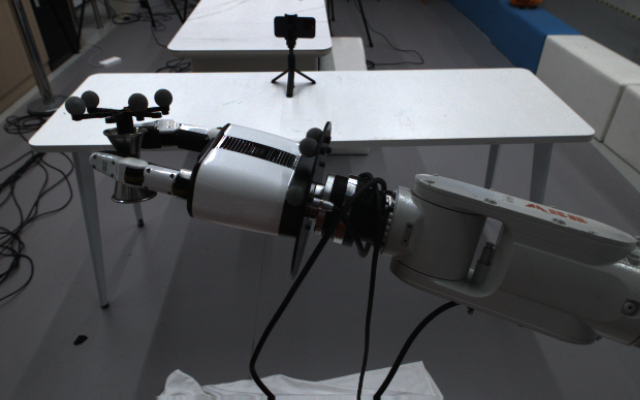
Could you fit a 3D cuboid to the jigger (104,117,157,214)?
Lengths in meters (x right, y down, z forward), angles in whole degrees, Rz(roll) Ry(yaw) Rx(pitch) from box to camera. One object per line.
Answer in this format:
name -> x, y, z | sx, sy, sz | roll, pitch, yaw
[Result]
jigger -> -0.191, -0.036, 0.484 | 0.043, 0.071, 0.043 | 0, 21, 0
